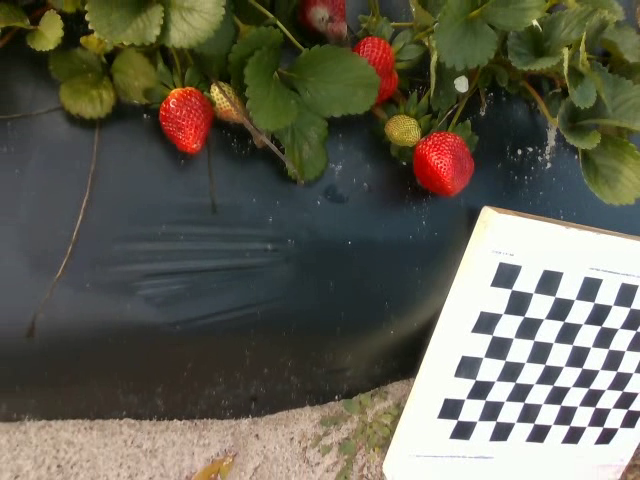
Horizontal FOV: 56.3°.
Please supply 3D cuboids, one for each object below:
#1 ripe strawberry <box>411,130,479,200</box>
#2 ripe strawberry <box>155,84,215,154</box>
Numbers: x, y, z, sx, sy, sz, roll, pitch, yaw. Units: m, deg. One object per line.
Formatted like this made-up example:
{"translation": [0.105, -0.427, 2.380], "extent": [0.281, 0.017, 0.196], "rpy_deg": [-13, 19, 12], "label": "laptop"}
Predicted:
{"translation": [0.042, -0.022, 0.194], "extent": [0.022, 0.025, 0.030], "rpy_deg": [4, 31, 8], "label": "ripe strawberry"}
{"translation": [-0.038, -0.032, 0.168], "extent": [0.018, 0.022, 0.017], "rpy_deg": [-11, -16, -13], "label": "ripe strawberry"}
